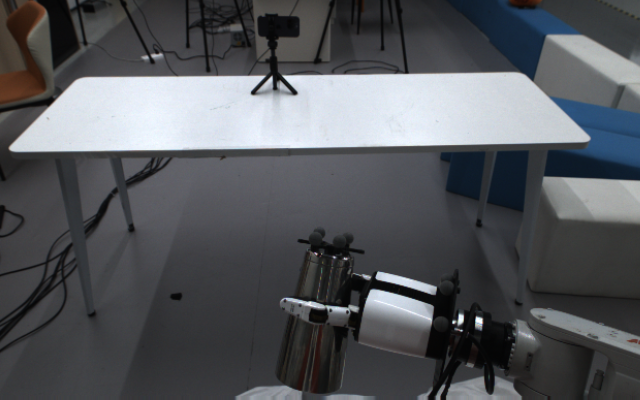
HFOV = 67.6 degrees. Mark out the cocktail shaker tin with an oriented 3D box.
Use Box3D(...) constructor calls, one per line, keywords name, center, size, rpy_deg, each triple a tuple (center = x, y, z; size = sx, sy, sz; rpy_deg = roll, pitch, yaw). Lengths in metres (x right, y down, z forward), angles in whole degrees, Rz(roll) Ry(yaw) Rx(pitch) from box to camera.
Box3D(name="cocktail shaker tin", center=(0.000, 0.153, 0.642), size=(0.093, 0.170, 0.093), rpy_deg=(10, 3, -1))
